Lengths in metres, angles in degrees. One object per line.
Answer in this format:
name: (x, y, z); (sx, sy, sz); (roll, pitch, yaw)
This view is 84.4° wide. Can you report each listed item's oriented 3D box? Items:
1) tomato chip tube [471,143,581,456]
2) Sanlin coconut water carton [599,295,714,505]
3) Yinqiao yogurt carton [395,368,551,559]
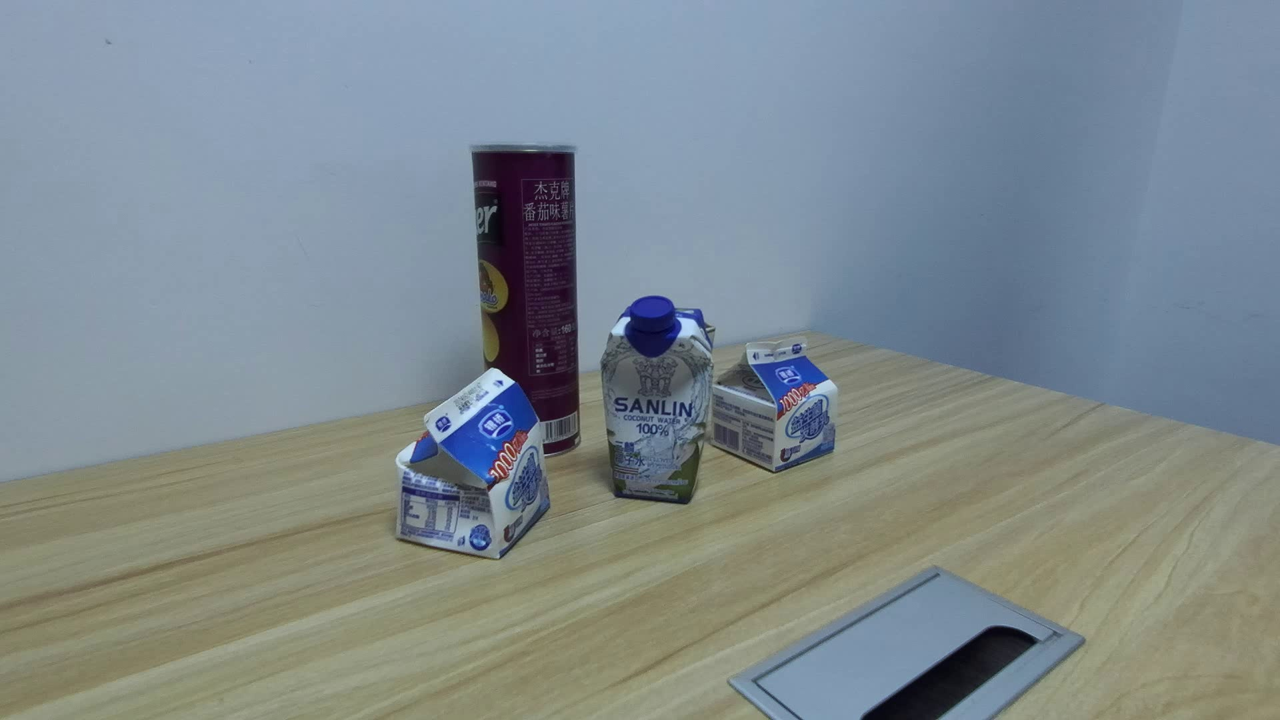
tomato chip tube: (-0.085, -0.045, 0.554); (0.078, 0.234, 0.078); (0, 15, 0)
Sanlin coconut water carton: (0.012, 0.025, 0.482); (0.078, 0.142, 0.058); (4, 22, 12)
Yinqiao yogurt carton: (-0.104, 0.058, 0.445); (0.077, 0.093, 0.083); (6, 17, 18)
